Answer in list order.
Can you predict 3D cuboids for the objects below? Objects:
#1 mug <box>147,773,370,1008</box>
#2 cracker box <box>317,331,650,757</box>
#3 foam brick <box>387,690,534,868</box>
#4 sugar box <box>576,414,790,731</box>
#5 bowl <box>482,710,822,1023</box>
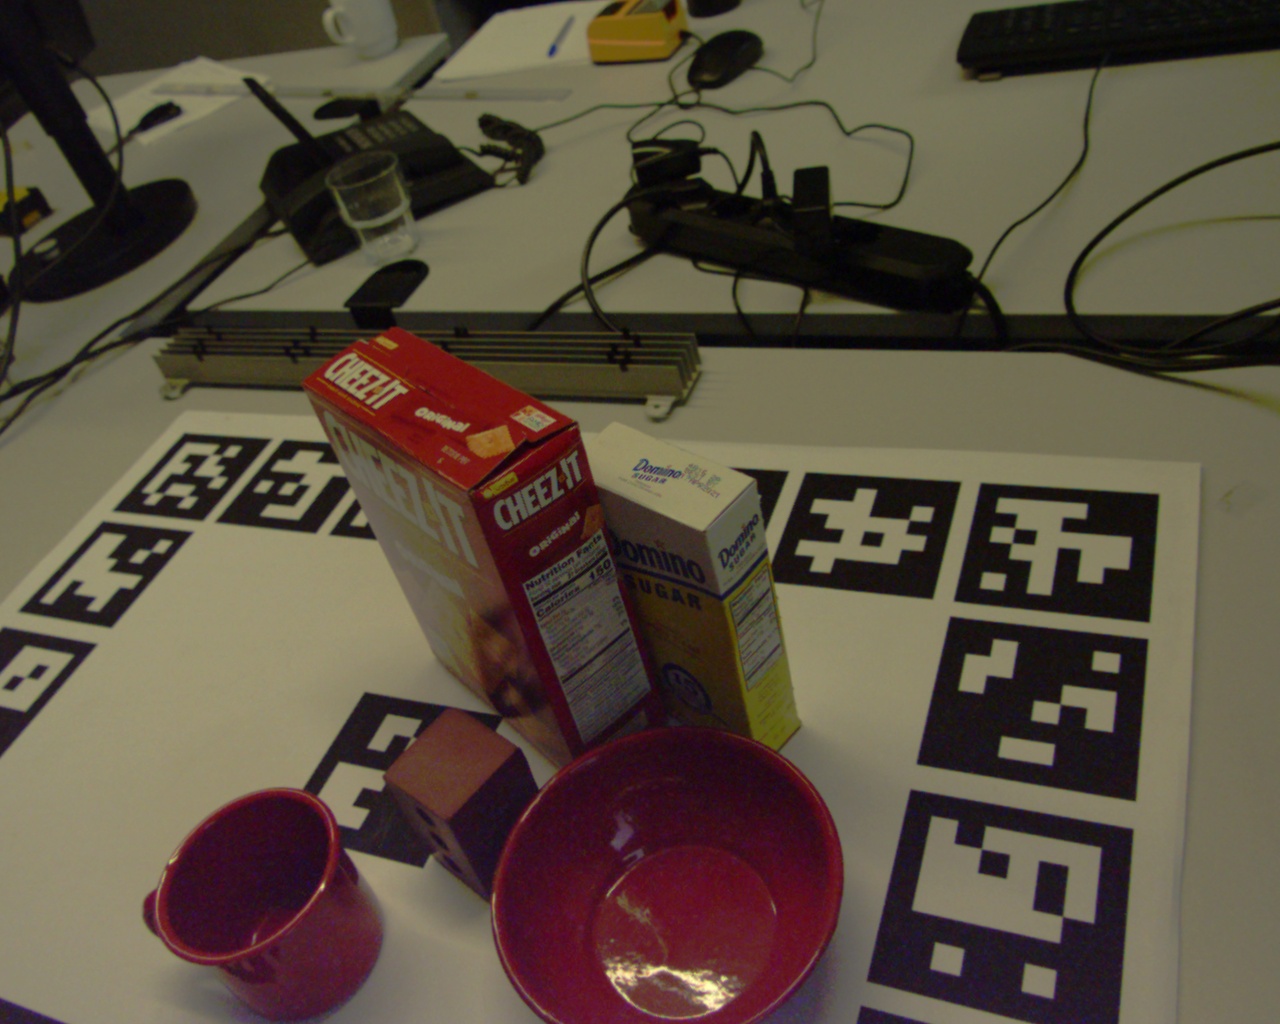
[{"bbox_3d":[-0.201,0.198,0.590,0.118,0.081,0.093,-3,34,20],"label":"mug"},{"bbox_3d":[-0.088,0.025,0.647,0.071,0.212,0.166,-35,43,-23],"label":"cracker box"},{"bbox_3d":[-0.092,0.147,0.621,0.053,0.077,0.051,18,50,36],"label":"foam brick"},{"bbox_3d":[0.022,0.037,0.619,0.094,0.175,0.045,24,55,39],"label":"sugar box"},{"bbox_3d":[0.009,0.175,0.546,0.162,0.055,0.162,-11,42,9],"label":"bowl"}]
